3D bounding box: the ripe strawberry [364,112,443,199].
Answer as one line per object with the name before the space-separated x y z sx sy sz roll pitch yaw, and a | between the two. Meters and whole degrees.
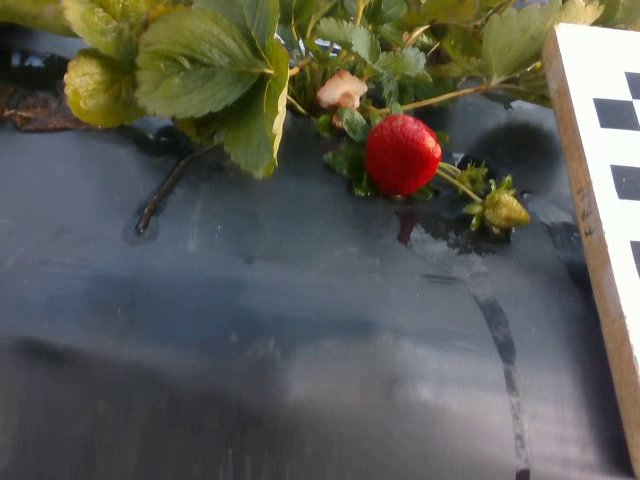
ripe strawberry | 0.052 -0.048 0.337 0.043 0.052 0.057 -22 3 -12
